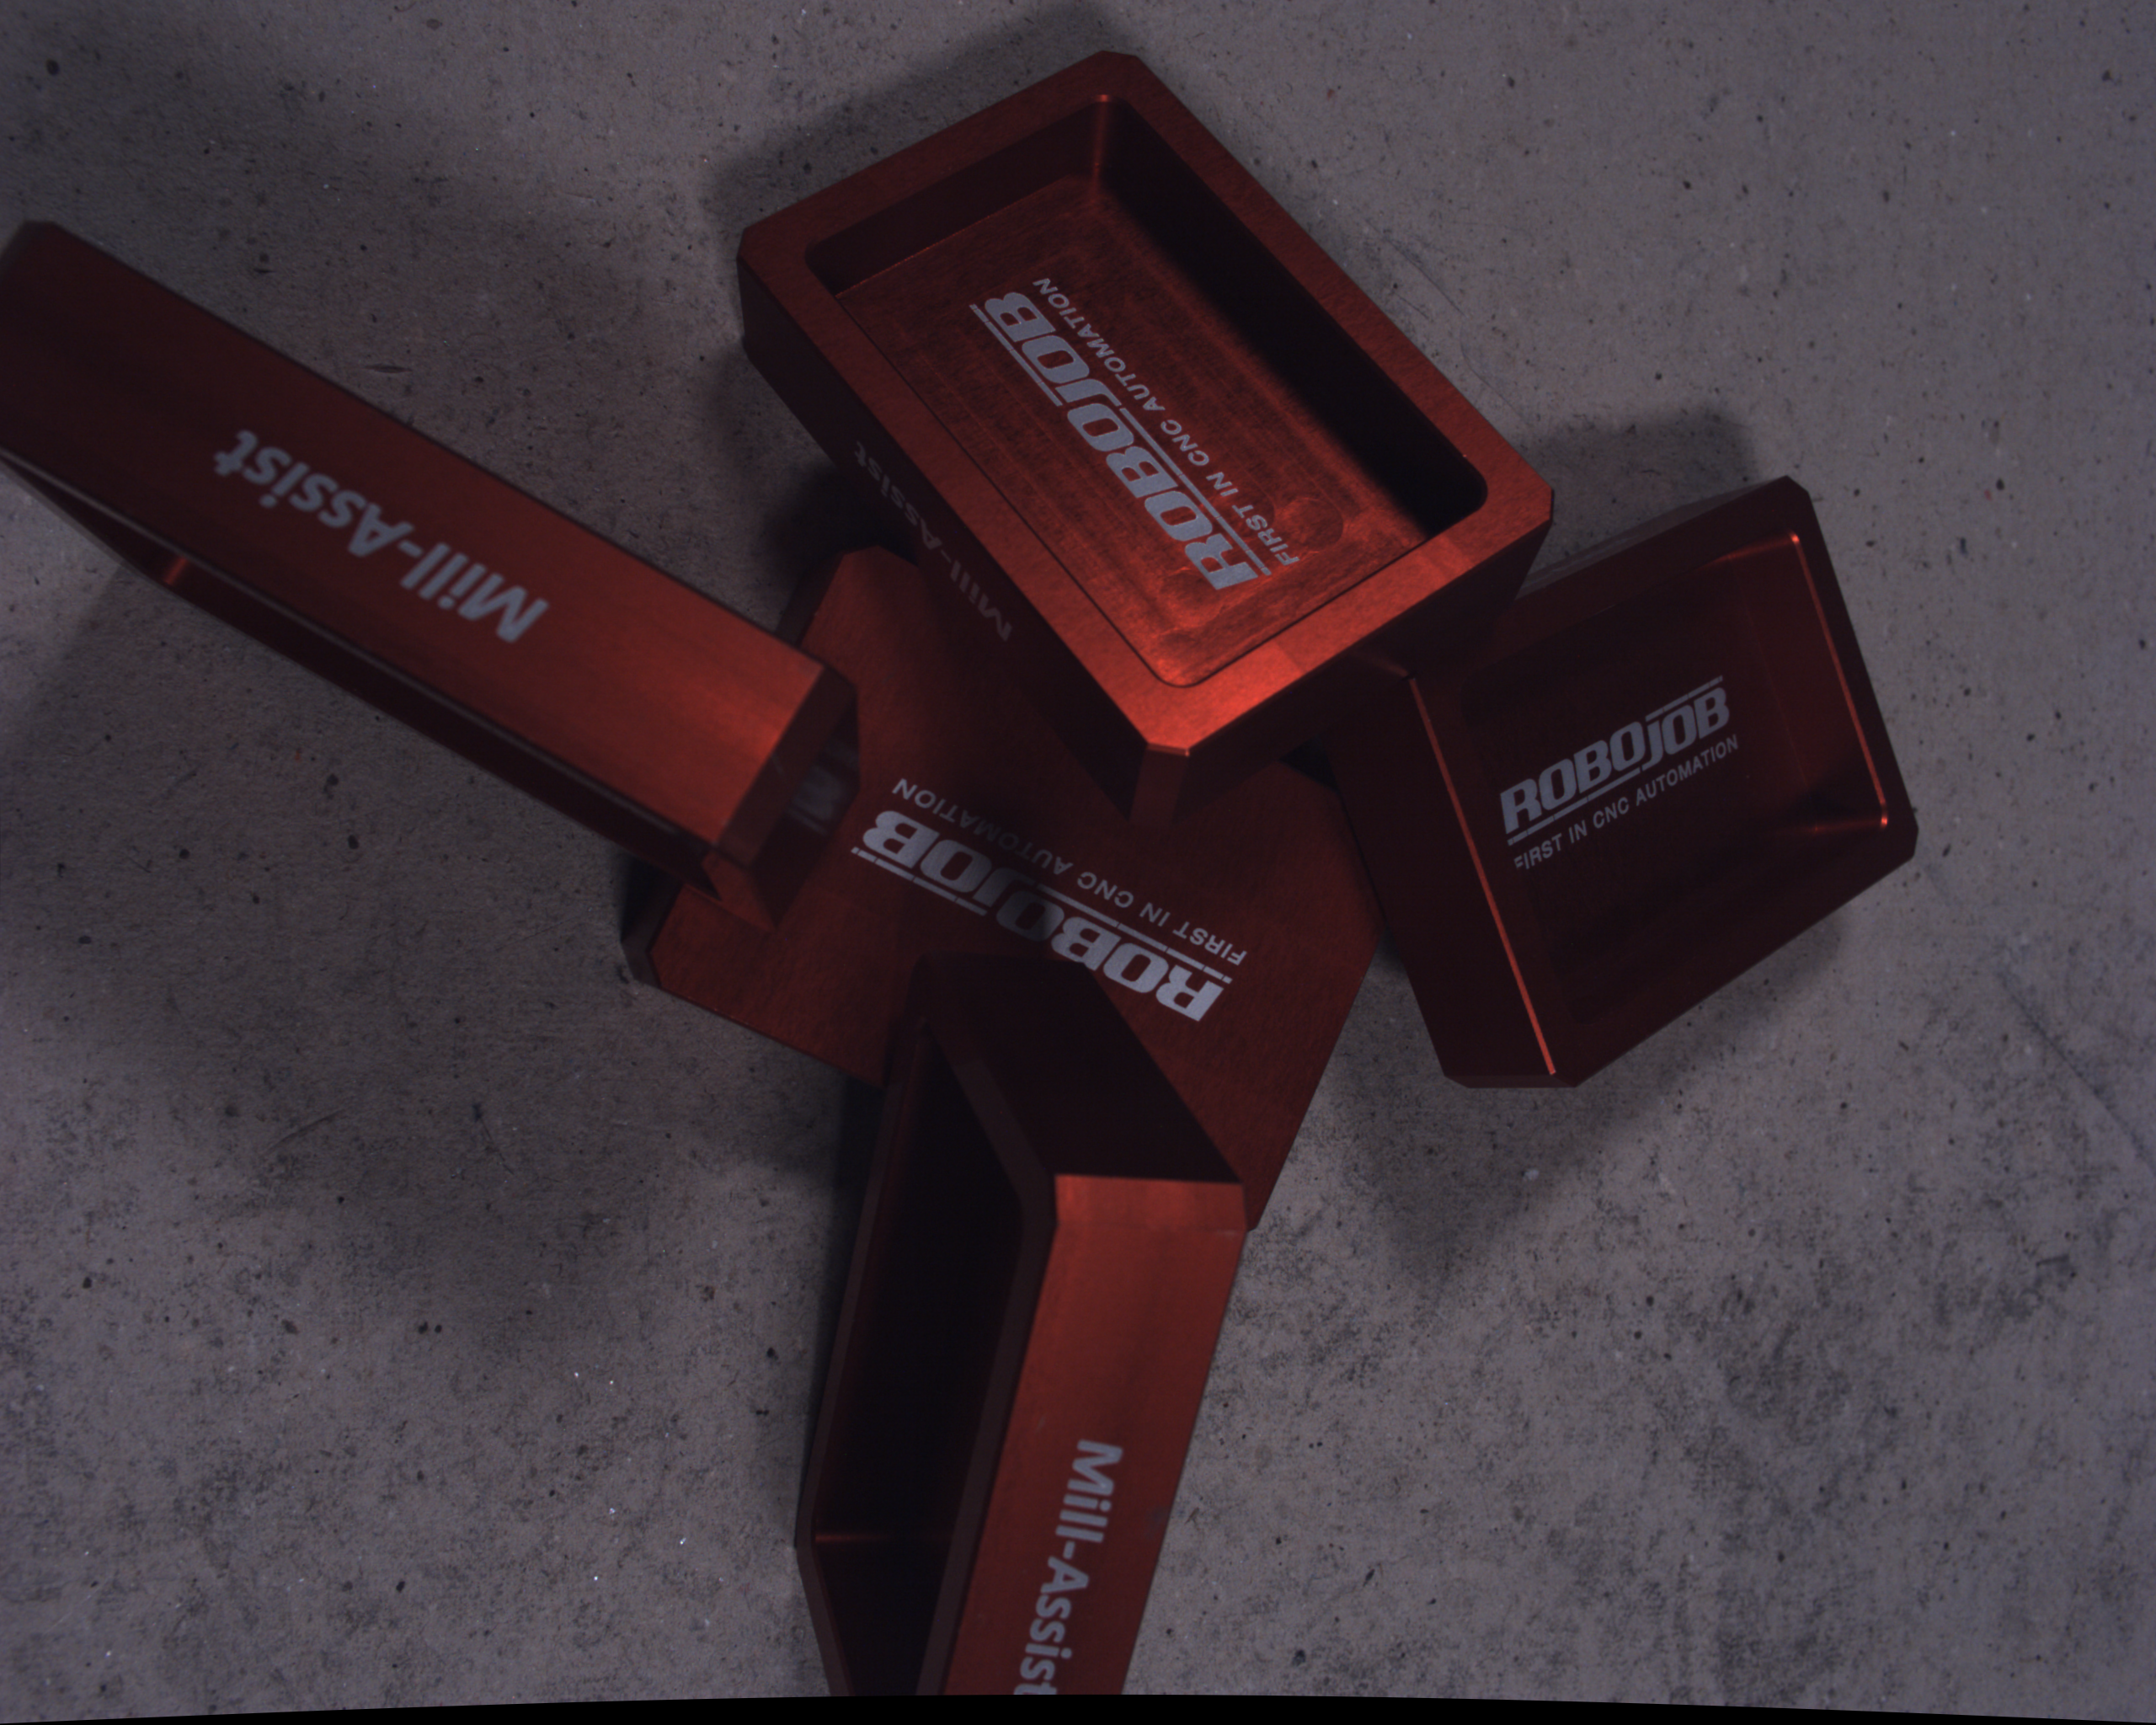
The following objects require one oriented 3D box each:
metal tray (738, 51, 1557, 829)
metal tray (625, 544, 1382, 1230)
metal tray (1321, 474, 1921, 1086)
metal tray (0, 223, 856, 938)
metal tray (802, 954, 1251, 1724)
[{"bbox_3d":[0.011,-0.081,0.381,0.090,0.030,0.130,-33,72,-18],"label":"metal tray"},{"bbox_3d":[-0.009,0.008,0.405,0.131,0.030,0.090,27,81,-19],"label":"metal tray"},{"bbox_3d":[0.116,-0.020,0.435,0.131,0.030,0.090,-26,99,-33],"label":"metal tray"},{"bbox_3d":[-0.098,-0.037,0.323,0.130,0.090,0.030,30,80,-1],"label":"metal tray"},{"bbox_3d":[-0.014,0.091,0.351,0.030,0.090,0.129,6,109,-20],"label":"metal tray"}]
